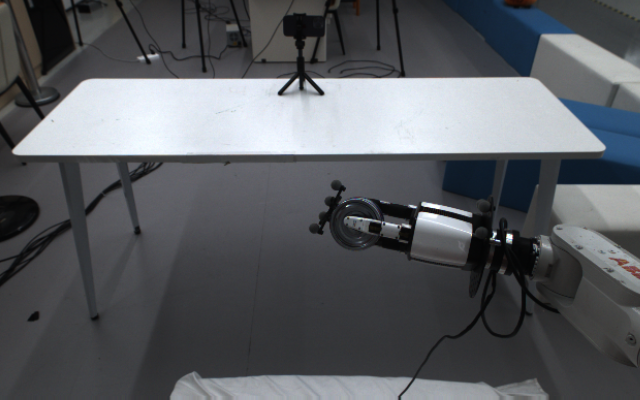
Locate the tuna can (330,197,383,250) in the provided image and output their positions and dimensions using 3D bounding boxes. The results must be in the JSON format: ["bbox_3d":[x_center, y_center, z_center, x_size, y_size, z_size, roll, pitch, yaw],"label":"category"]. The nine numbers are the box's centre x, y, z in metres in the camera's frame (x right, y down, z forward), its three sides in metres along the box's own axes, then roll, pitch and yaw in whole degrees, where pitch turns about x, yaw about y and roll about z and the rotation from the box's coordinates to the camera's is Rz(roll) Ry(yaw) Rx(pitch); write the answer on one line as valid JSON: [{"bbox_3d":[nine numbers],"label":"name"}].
[{"bbox_3d":[0.061,0.037,0.777,0.085,0.085,0.034,9,4,10],"label":"tuna can"}]
